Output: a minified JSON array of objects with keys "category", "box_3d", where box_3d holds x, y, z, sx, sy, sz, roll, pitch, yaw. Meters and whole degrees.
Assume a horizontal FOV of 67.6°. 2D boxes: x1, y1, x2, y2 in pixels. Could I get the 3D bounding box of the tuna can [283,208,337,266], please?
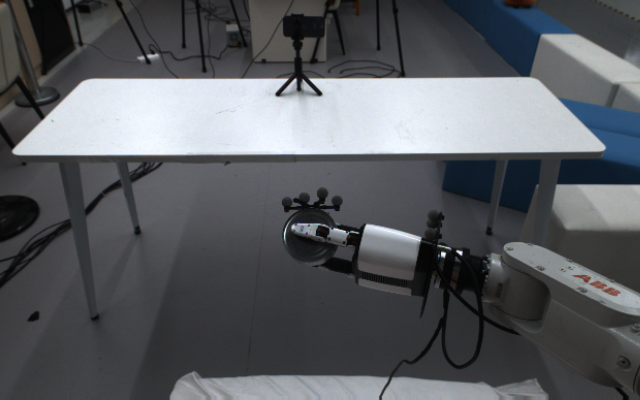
[{"category":"tuna can","box_3d":[-0.012,0.061,0.740,0.085,0.034,0.085,-2,69,6]}]
